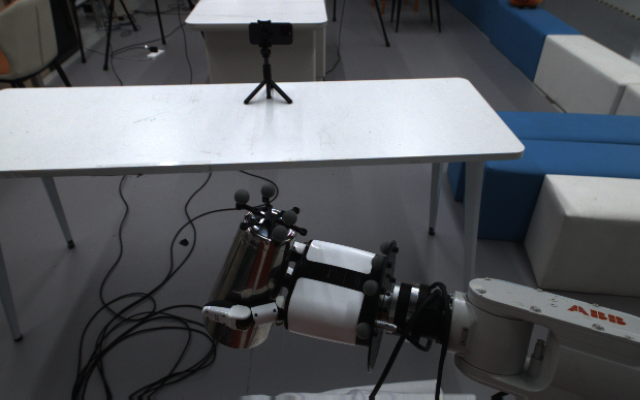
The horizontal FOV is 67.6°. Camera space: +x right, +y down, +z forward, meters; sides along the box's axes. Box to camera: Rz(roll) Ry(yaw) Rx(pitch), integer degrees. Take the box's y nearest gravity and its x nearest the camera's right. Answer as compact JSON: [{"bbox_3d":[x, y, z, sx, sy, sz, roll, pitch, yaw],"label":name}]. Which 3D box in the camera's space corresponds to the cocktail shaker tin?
[{"bbox_3d":[-0.083,0.092,0.603,0.093,0.170,0.093,16,31,-10],"label":"cocktail shaker tin"}]
